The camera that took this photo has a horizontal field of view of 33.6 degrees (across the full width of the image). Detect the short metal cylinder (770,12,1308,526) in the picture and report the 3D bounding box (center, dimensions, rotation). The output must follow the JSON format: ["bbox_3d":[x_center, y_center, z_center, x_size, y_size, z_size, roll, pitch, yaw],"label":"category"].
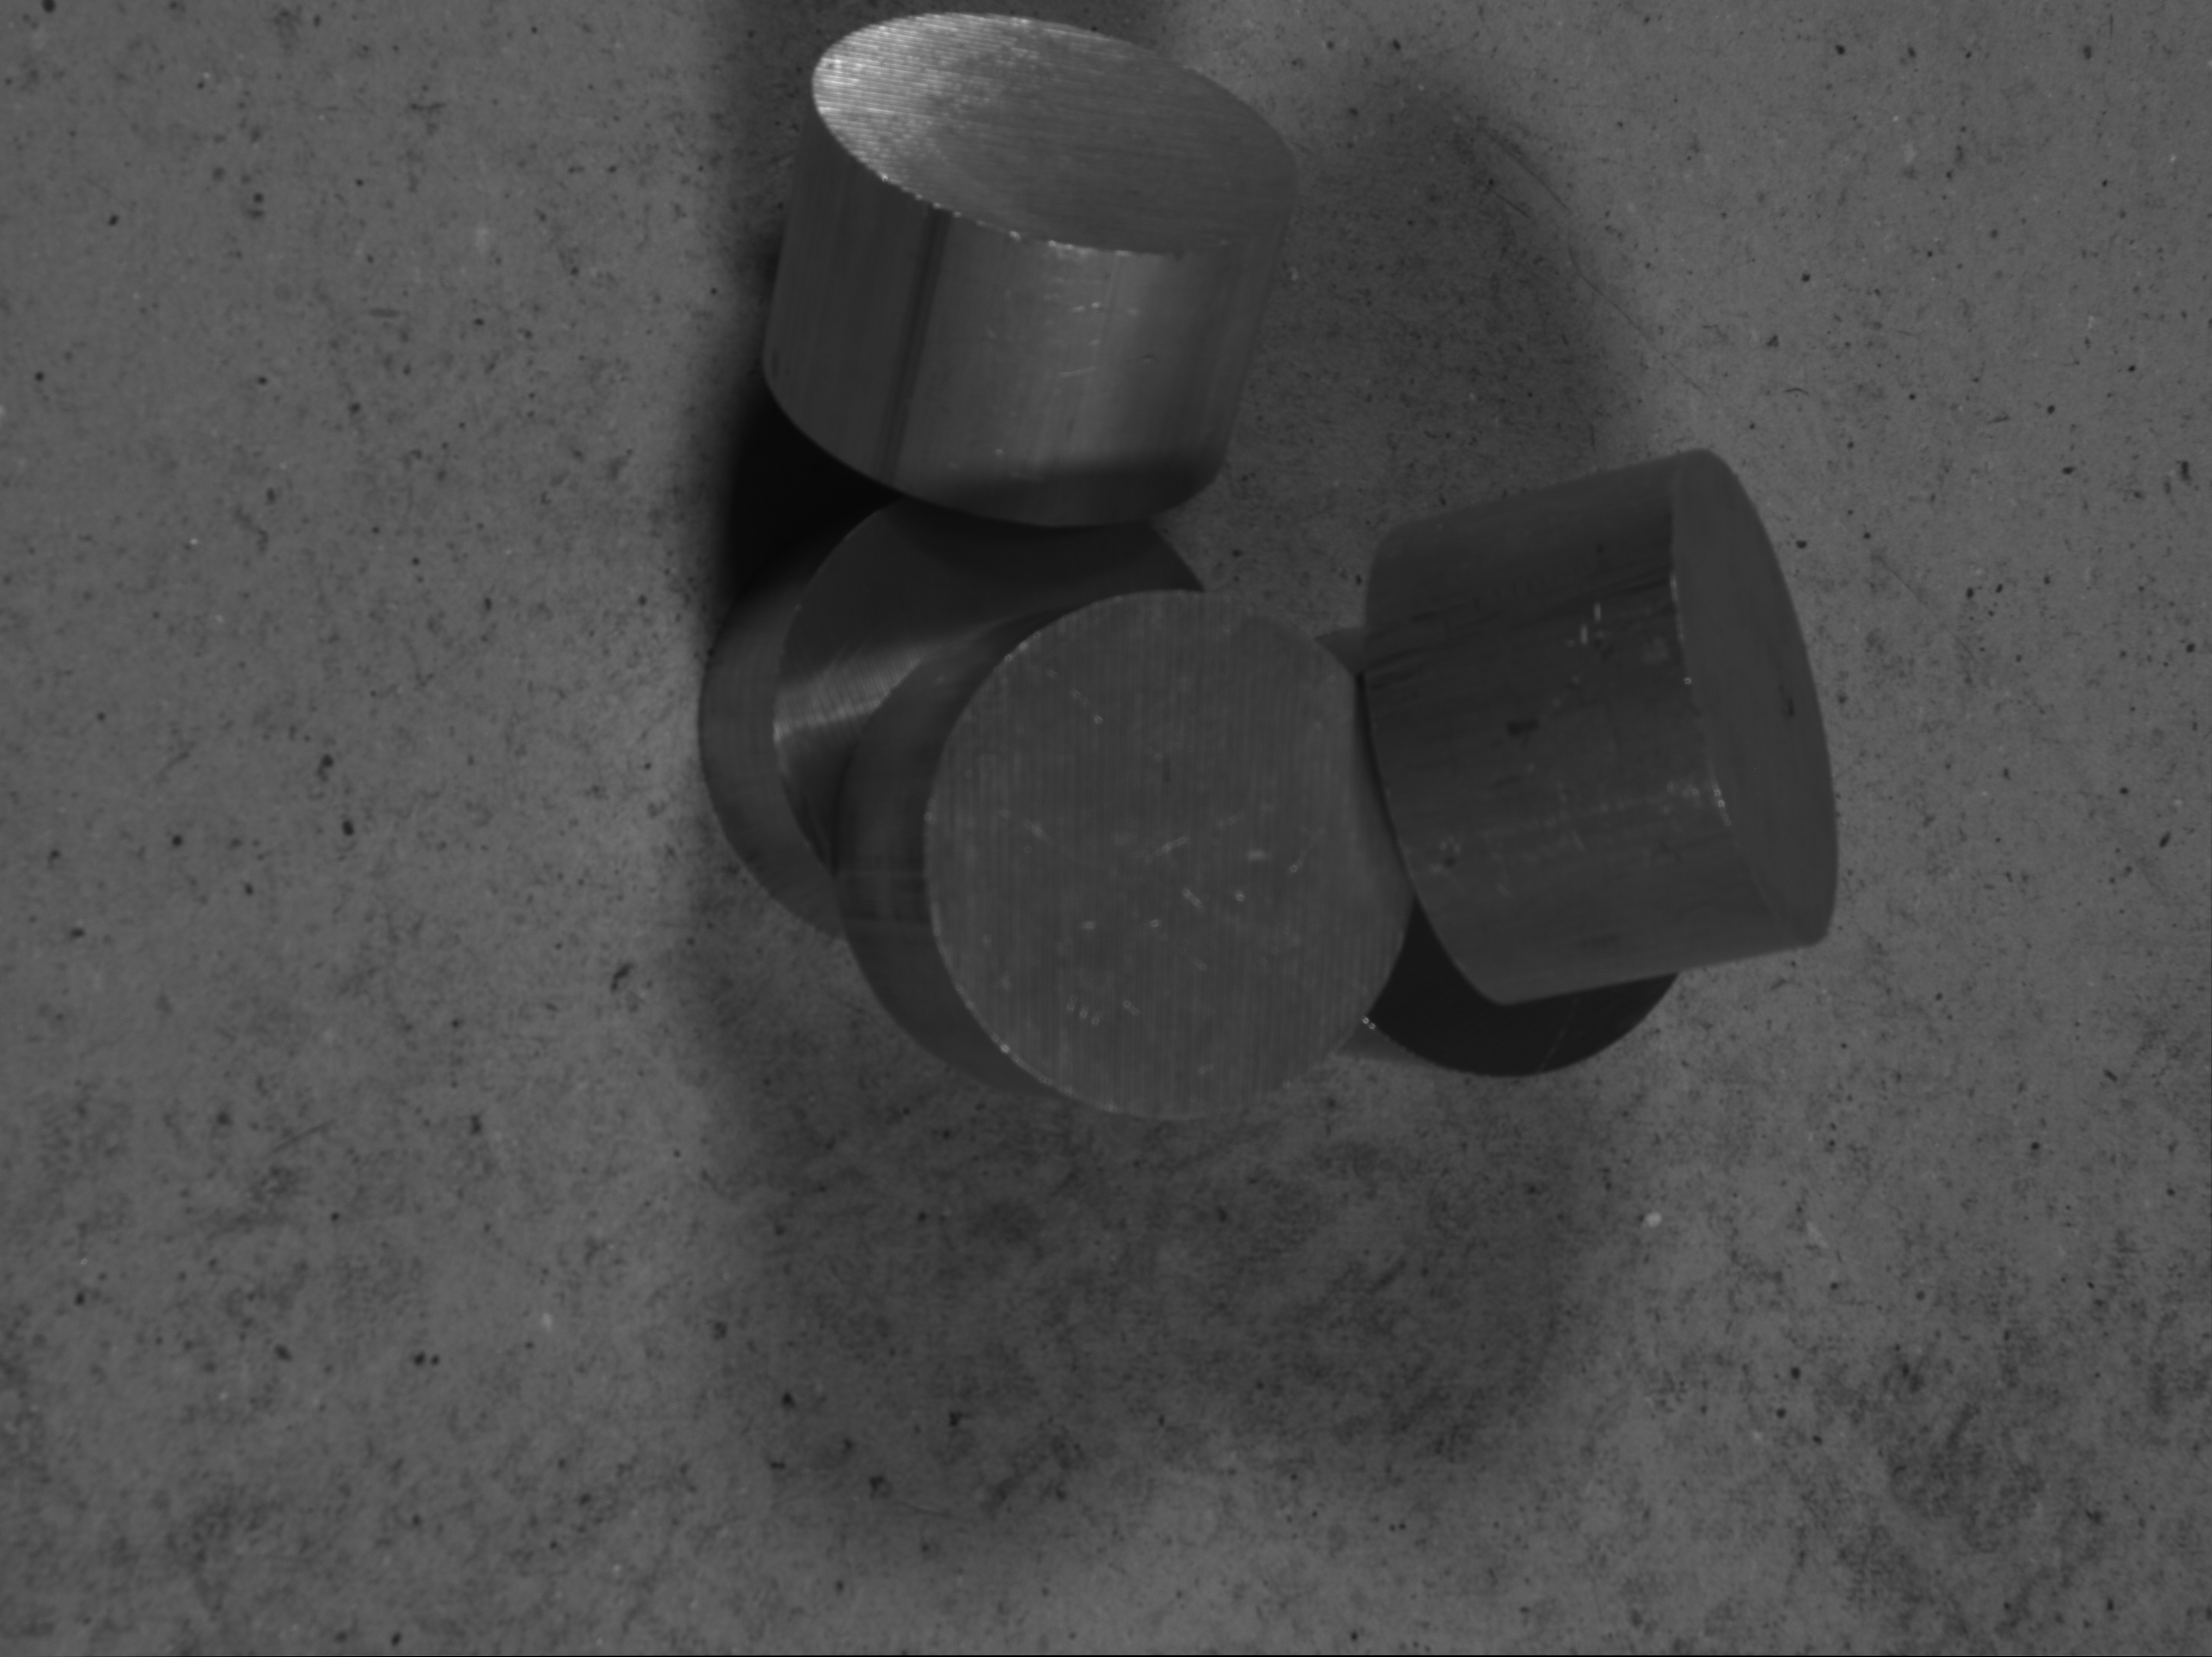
[{"bbox_3d":[-0.012,-0.093,0.603,0.080,0.080,0.050,0,129,-20],"label":"short metal cylinder"}]

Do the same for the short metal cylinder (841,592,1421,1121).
[{"bbox_3d":[0.004,0.004,0.578,0.080,0.050,0.080,0,90,-20],"label":"short metal cylinder"}]

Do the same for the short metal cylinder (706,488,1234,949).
[{"bbox_3d":[-0.023,-0.018,0.622,0.080,0.050,0.080,0,90,-20],"label":"short metal cylinder"}]

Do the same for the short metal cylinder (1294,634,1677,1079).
[{"bbox_3d":[0.062,0.003,0.652,0.080,0.050,0.080,0,90,-20],"label":"short metal cylinder"}]

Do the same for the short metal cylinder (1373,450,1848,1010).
[{"bbox_3d":[0.081,-0.015,0.583,0.050,0.080,0.080,-13,96,24],"label":"short metal cylinder"}]
